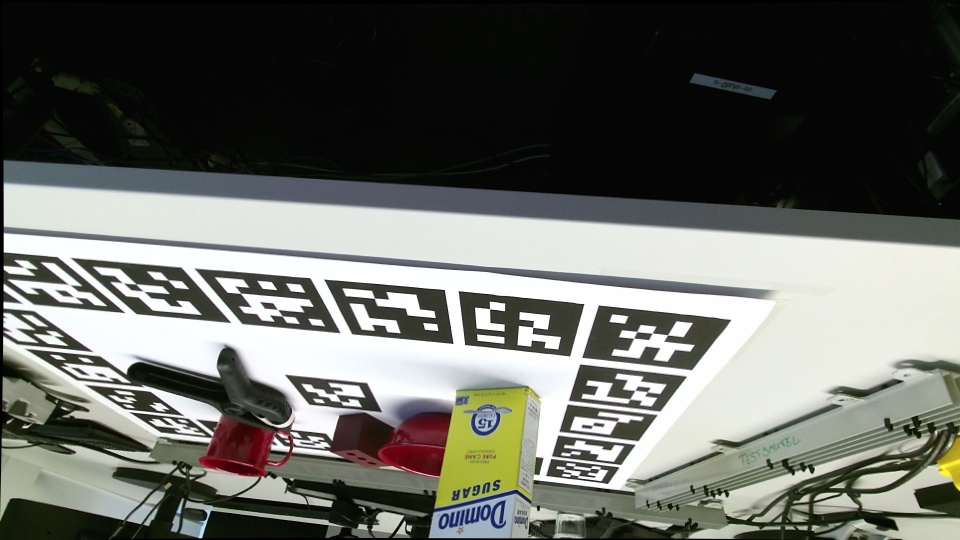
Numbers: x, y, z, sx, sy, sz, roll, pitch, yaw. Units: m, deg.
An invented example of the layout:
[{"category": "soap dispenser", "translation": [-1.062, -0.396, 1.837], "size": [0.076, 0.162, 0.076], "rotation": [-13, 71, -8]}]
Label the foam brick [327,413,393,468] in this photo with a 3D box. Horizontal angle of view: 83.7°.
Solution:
[{"category": "foam brick", "translation": [-0.168, 0.241, 0.750], "size": [0.053, 0.051, 0.078], "rotation": [-14, 135, 26]}]

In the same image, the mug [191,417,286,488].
[{"category": "mug", "translation": [-0.339, 0.260, 0.772], "size": [0.117, 0.081, 0.093], "rotation": [23, 140, -13]}]

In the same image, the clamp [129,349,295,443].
[{"category": "clamp", "translation": [-0.307, 0.169, 0.680], "size": [0.166, 0.036, 0.203], "rotation": [-12, 137, 22]}]

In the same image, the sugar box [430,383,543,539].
[{"category": "sugar box", "translation": [0.010, 0.210, 0.565], "size": [0.093, 0.175, 0.045], "rotation": [-11, 136, 26]}]

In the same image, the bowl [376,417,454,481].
[{"category": "bowl", "translation": [-0.053, 0.240, 0.713], "size": [0.162, 0.055, 0.162], "rotation": [6, 142, 5]}]
